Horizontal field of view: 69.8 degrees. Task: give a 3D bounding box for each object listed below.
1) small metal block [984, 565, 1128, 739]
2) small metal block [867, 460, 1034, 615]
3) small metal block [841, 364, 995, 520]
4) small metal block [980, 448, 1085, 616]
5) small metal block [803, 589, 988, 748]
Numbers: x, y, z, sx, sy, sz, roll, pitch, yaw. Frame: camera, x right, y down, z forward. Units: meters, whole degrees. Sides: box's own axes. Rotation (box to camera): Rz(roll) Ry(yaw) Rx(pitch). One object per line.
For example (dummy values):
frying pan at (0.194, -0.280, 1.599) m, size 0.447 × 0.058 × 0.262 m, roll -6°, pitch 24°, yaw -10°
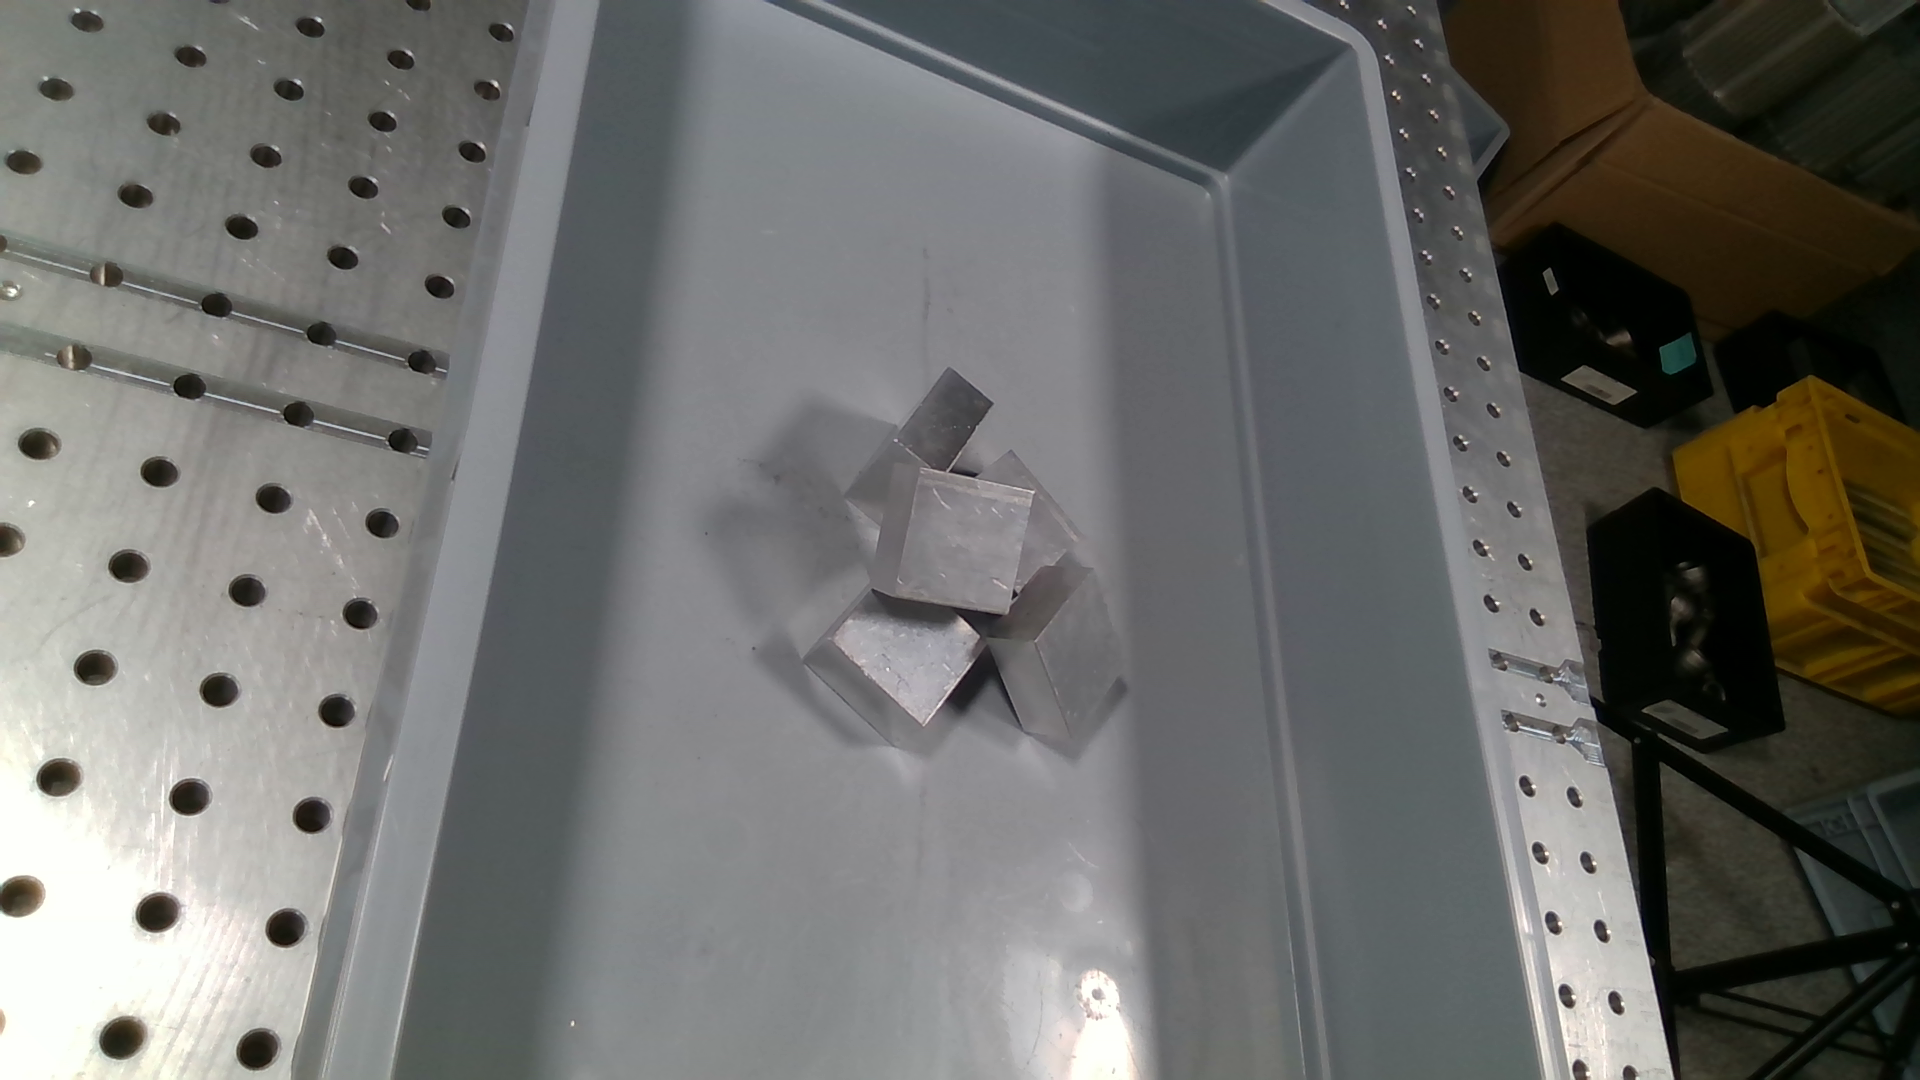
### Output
small metal block at (0.041, 0.046, 0.571) m, size 0.050 × 0.025 × 0.050 m, roll -47°, pitch 127°, yaw -39°
small metal block at (-0.004, -0.001, 0.536) m, size 0.050 × 0.025 × 0.050 m, roll 11°, pitch 92°, yaw -27°
small metal block at (-0.018, -0.038, 0.577) m, size 0.025 × 0.050 × 0.050 m, roll 39°, pitch 51°, yaw -8°
small metal block at (0.018, -0.004, 0.596) m, size 0.050 × 0.025 × 0.050 m, roll 50°, pitch 51°, yaw 1°
small metal block at (-0.025, 0.044, 0.545) m, size 0.050 × 0.025 × 0.050 m, roll 44°, pitch 51°, yaw -4°
